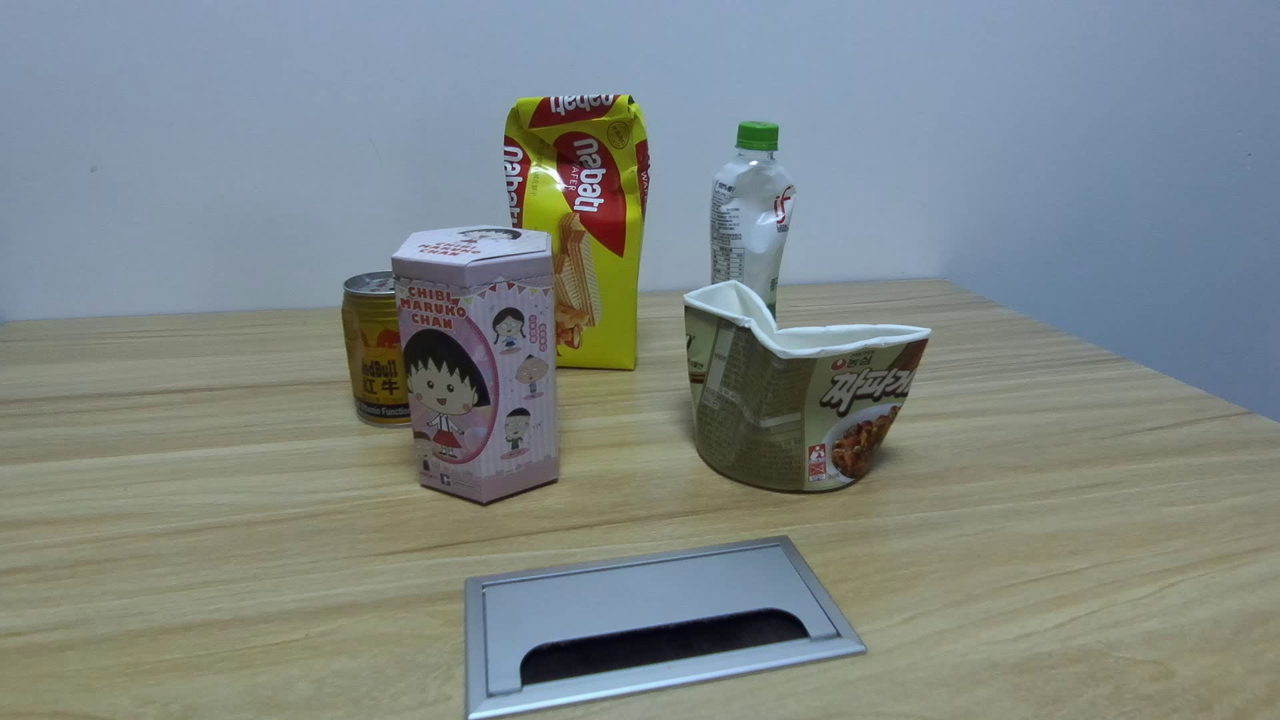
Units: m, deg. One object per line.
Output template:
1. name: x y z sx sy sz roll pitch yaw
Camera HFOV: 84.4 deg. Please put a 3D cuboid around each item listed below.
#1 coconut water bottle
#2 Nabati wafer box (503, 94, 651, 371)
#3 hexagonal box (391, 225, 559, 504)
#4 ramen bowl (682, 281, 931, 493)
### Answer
1. coconut water bottle: 0.086 -0.089 0.558 0.069 0.187 0.069 3 19 -1
2. Nabati wafer box: -0.047 -0.094 0.545 0.113 0.205 0.042 0 19 2
3. hexagonal box: -0.088 0.001 0.399 0.091 0.136 0.084 10 23 22
4. ramen bowl: 0.088 0.011 0.436 0.112 0.093 0.127 -10 25 -26
